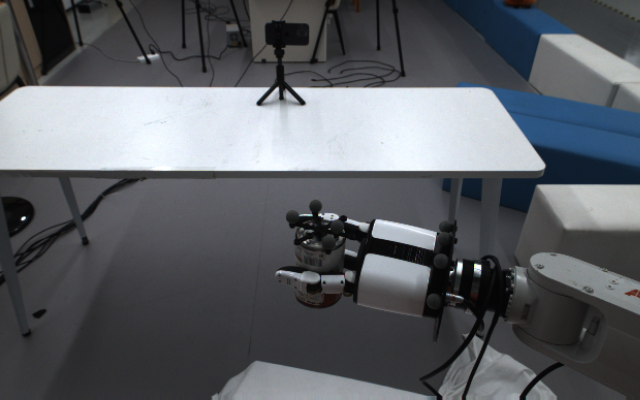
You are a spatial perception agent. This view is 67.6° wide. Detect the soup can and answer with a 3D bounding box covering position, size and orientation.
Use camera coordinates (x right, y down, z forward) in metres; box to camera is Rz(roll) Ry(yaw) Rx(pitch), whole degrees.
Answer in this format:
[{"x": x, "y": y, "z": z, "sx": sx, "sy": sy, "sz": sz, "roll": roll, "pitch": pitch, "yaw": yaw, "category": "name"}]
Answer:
[{"x": 0.000, "y": 0.086, "z": 0.649, "sx": 0.067, "sy": 0.101, "sz": 0.067, "roll": 2, "pitch": 32, "yaw": -1, "category": "soup can"}]
